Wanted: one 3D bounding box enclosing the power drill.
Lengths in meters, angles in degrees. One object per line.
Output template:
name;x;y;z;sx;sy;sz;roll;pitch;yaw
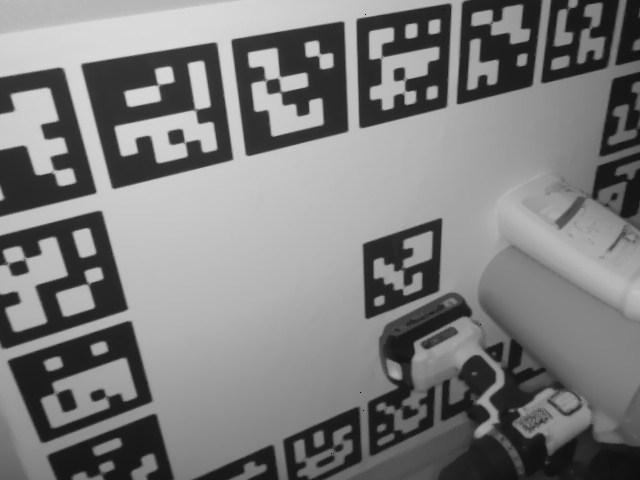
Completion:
power drill;0.184;0.166;0.716;0.186;0.186;0.057;-19;119;-13

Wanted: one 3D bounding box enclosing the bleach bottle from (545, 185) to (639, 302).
bleach bottle;0.349;0.025;0.702;0.104;0.249;0.067;-24;123;-17

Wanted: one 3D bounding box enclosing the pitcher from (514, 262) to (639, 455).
pitcher;0.338;0.108;0.762;0.189;0.241;0.133;-40;125;-6
